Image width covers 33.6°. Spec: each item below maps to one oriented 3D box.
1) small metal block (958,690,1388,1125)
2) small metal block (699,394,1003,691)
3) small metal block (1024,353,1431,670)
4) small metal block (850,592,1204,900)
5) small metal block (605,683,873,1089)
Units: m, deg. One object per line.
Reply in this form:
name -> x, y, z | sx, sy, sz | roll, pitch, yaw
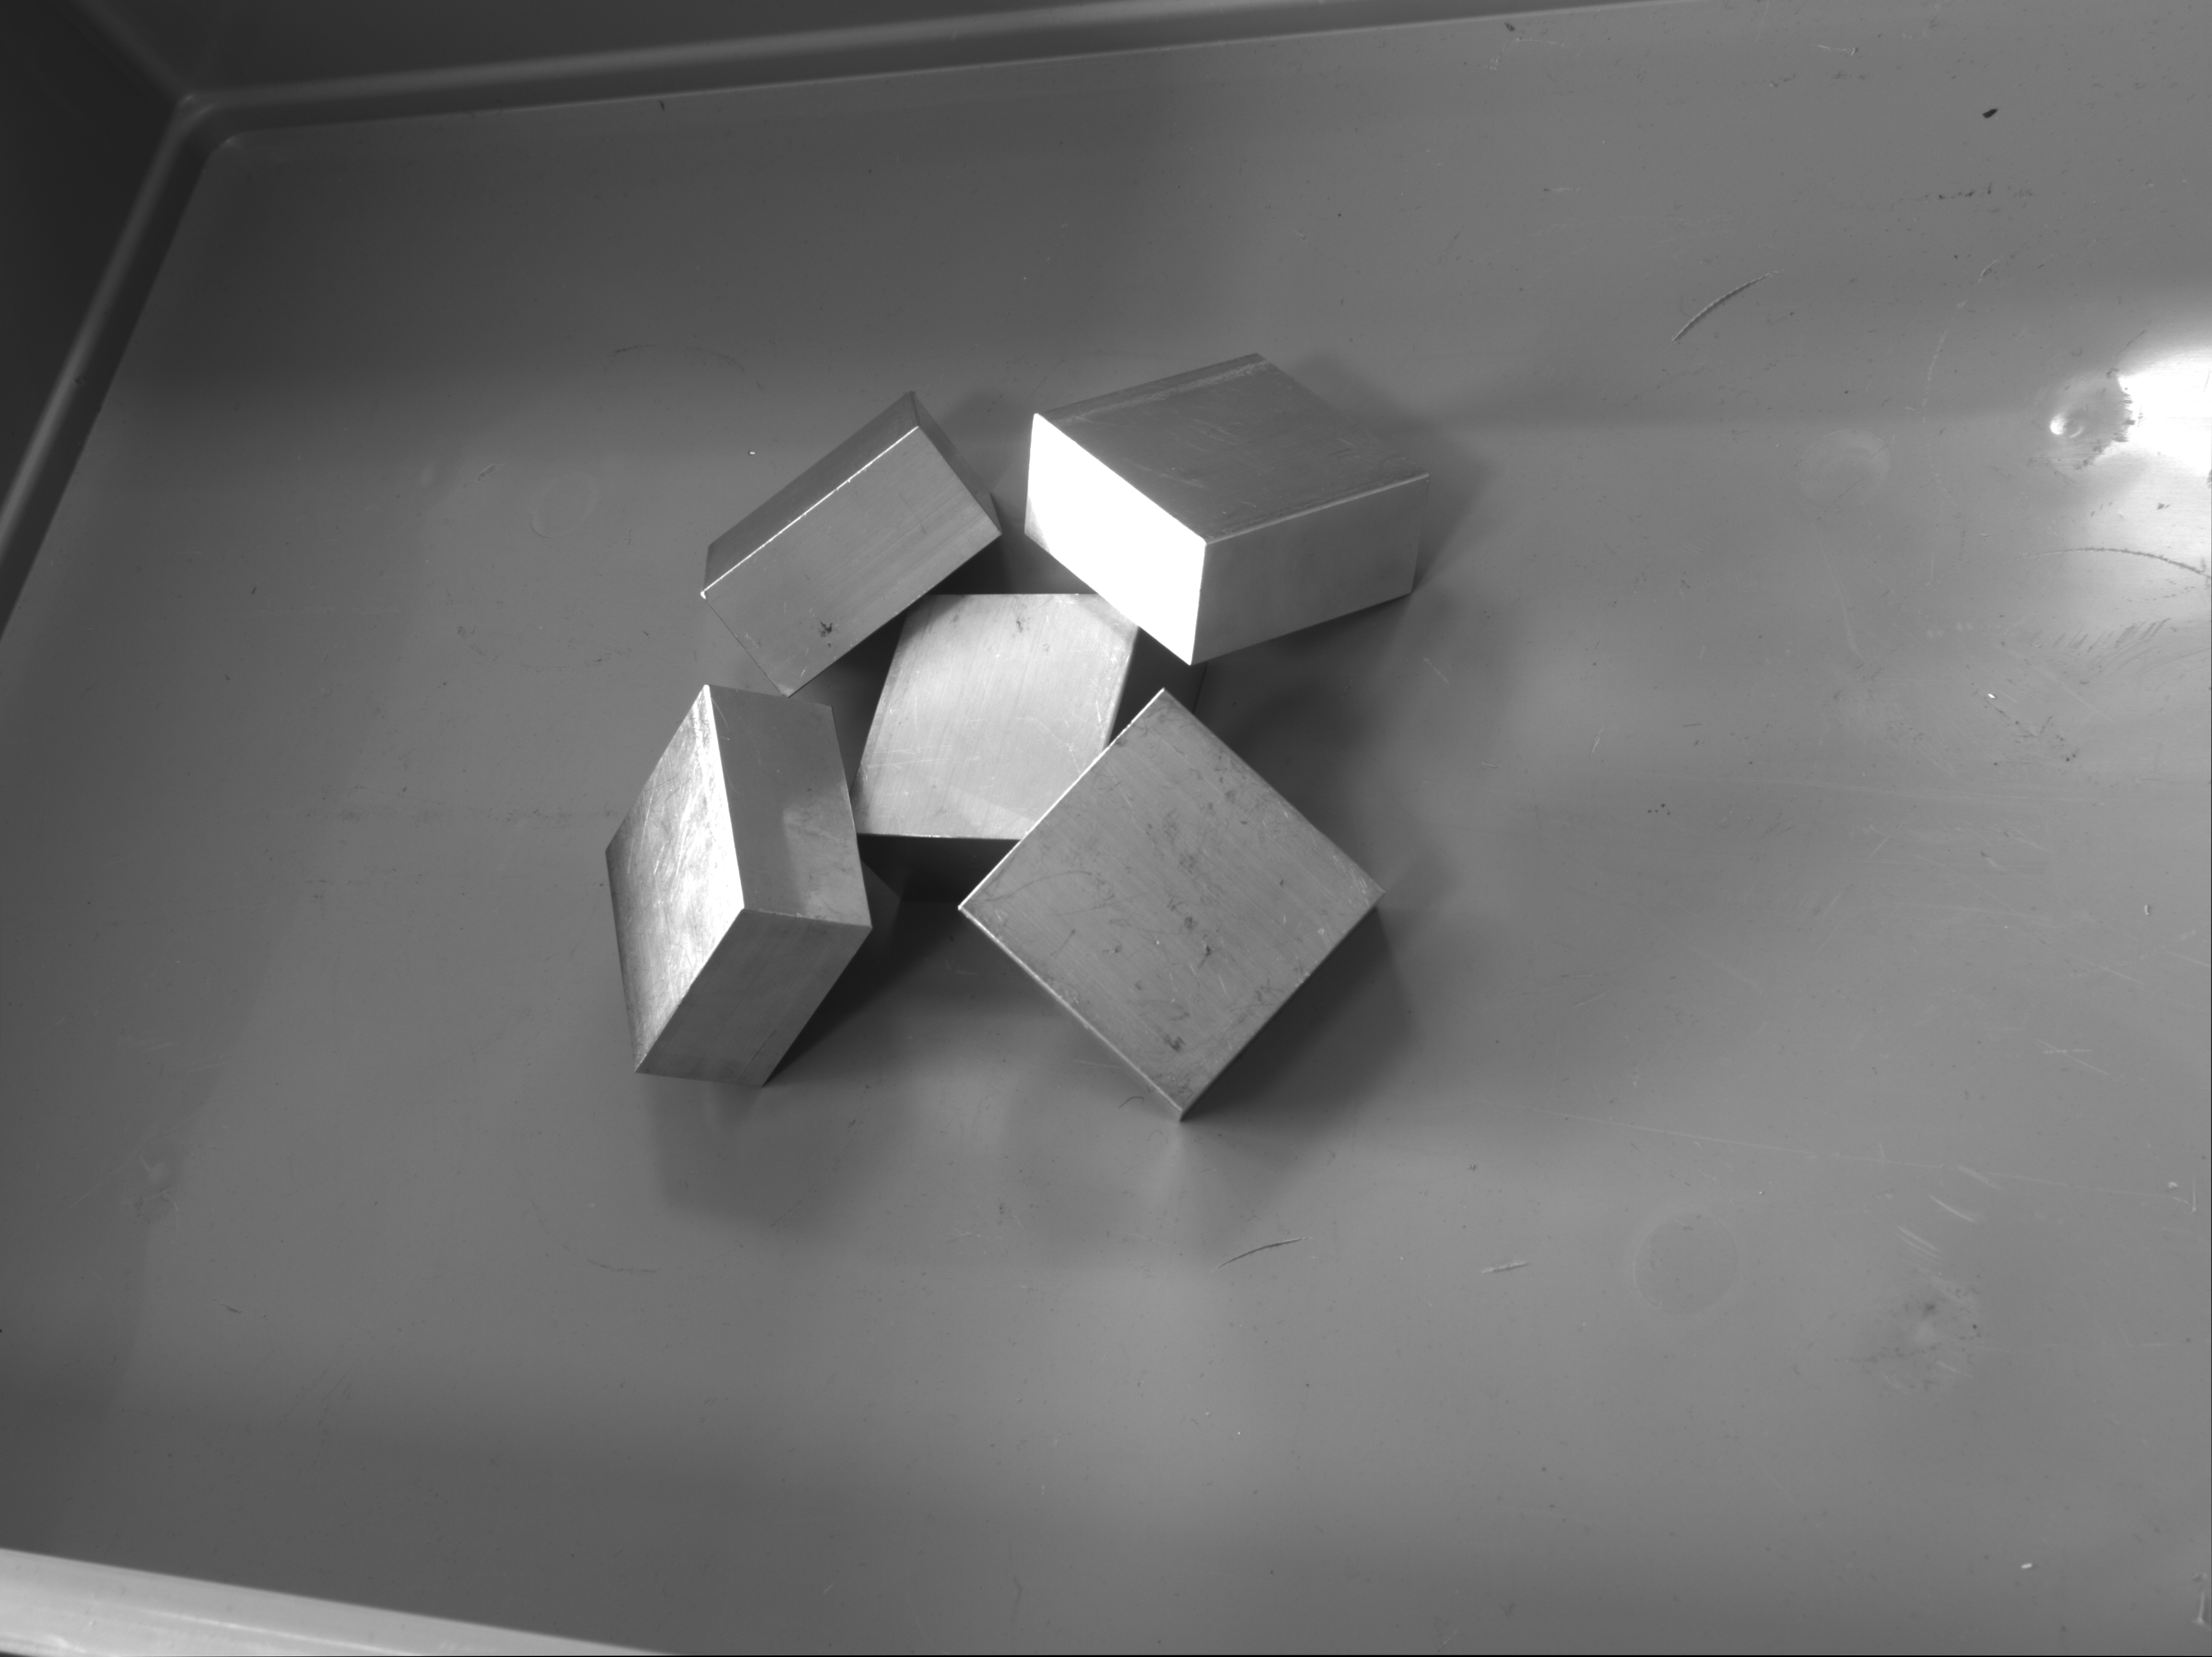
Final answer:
small metal block -> 0.011, 0.014, 0.614 | 0.050, 0.025, 0.050 | 42, 85, 5
small metal block -> -0.048, -0.053, 0.686 | 0.050, 0.025, 0.050 | -37, 13, 4
small metal block -> 0.021, -0.057, 0.651 | 0.050, 0.025, 0.050 | -20, 43, -32
small metal block -> -0.015, -0.015, 0.659 | 0.050, 0.025, 0.050 | 2, 62, 29
small metal block -> -0.067, 0.011, 0.657 | 0.050, 0.025, 0.050 | -53, 38, 42
